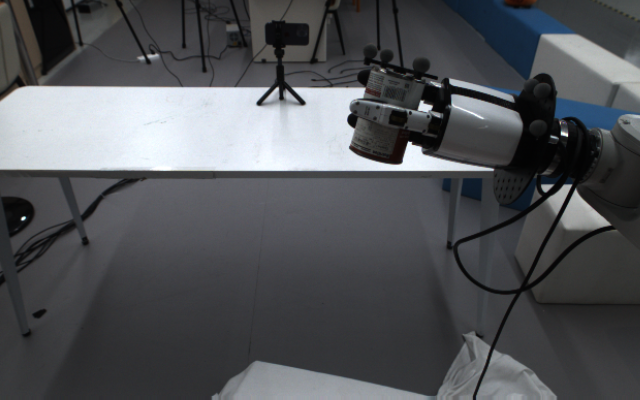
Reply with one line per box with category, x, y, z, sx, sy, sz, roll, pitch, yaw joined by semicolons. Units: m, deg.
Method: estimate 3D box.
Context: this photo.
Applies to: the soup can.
soup can;0.081;-0.102;0.582;0.067;0.101;0.067;13;18;-4
